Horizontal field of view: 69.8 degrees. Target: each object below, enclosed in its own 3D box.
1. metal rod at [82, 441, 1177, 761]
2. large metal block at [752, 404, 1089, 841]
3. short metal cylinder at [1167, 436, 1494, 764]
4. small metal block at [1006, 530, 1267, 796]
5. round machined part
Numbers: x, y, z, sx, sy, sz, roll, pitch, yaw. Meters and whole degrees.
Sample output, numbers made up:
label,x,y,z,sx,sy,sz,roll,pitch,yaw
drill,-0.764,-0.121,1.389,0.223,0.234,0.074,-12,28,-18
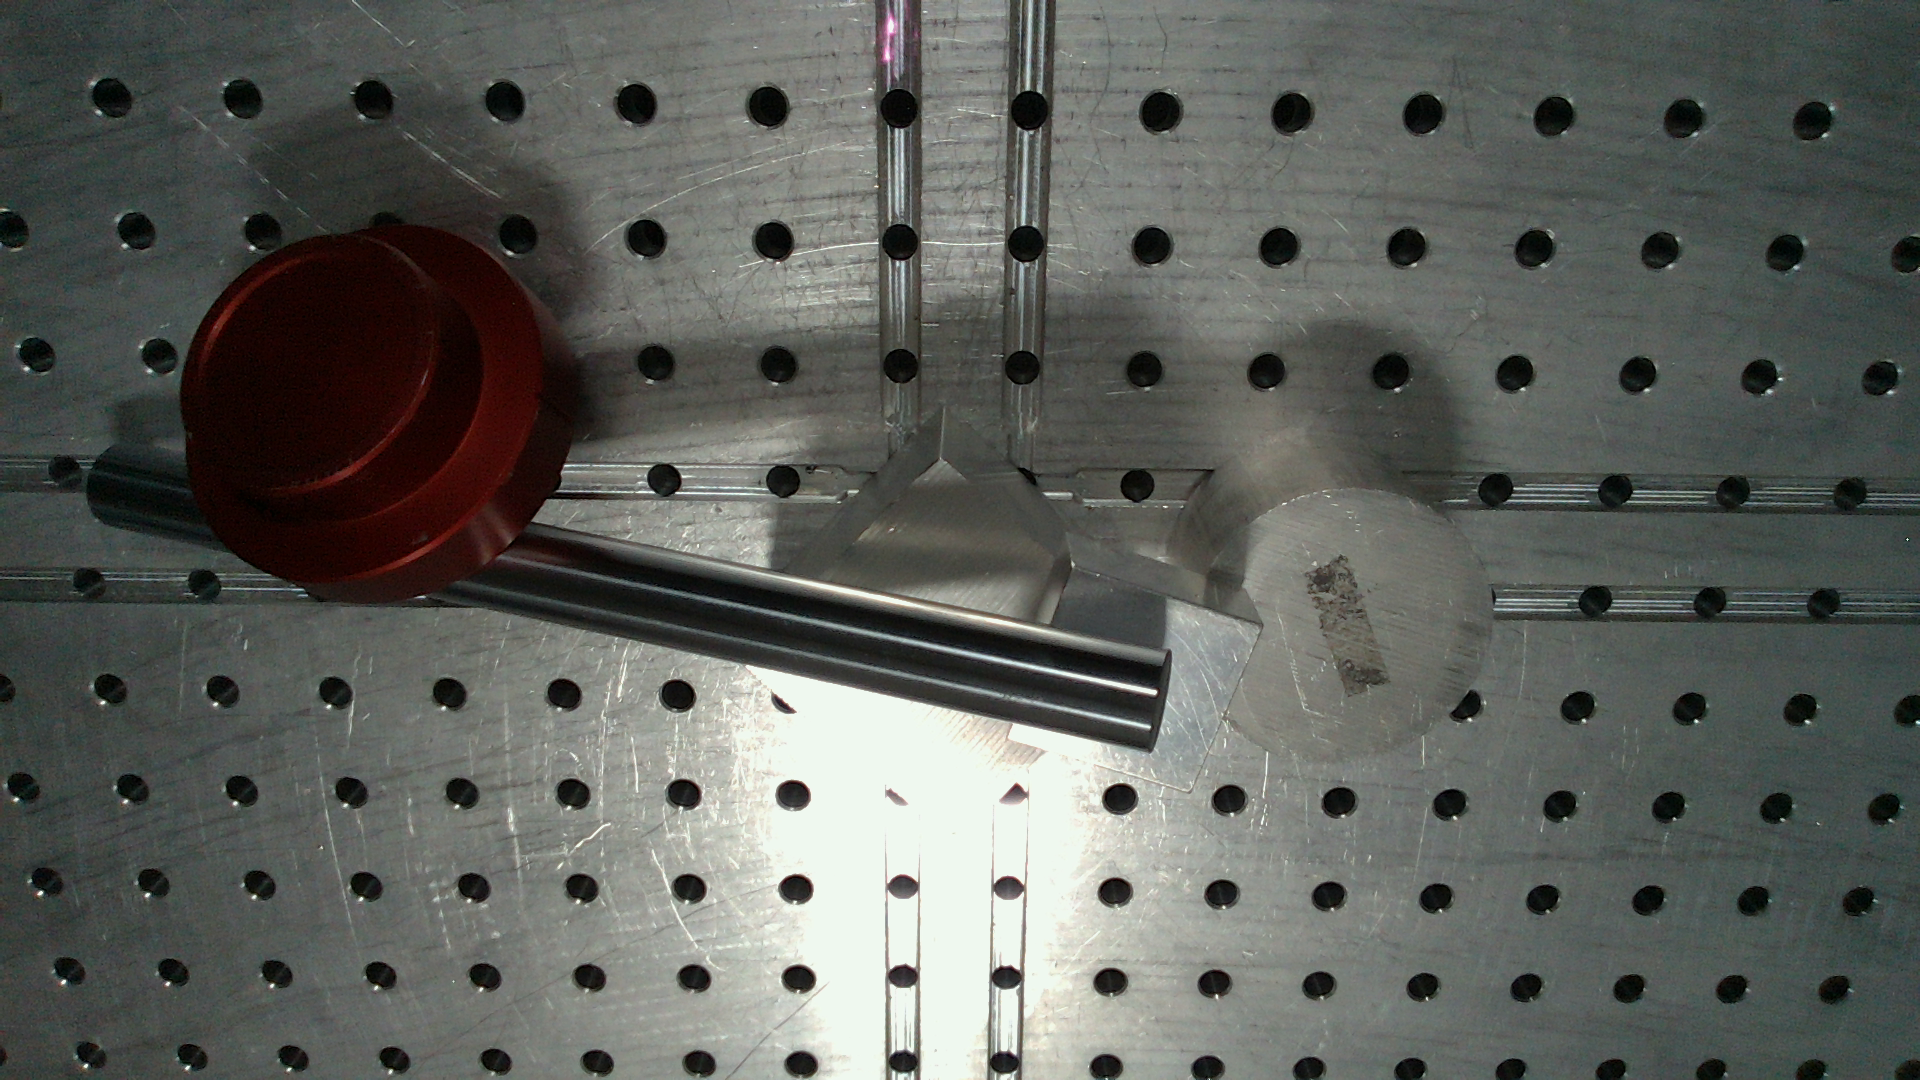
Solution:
label,x,y,z,sx,sy,sz,roll,pitch,yaw
metal rod,-0.095,0.011,0.354,0.299,0.025,0.025,11,111,14
large metal block,-0.003,0.022,0.389,0.080,0.050,0.080,42,105,-14
short metal cylinder,0.102,0.016,0.389,0.080,0.050,0.080,0,110,0
small metal block,0.043,0.032,0.353,0.050,0.025,0.050,17,109,-6
round machined part,-0.151,-0.036,0.345,0.098,0.042,0.098,-3,71,10
